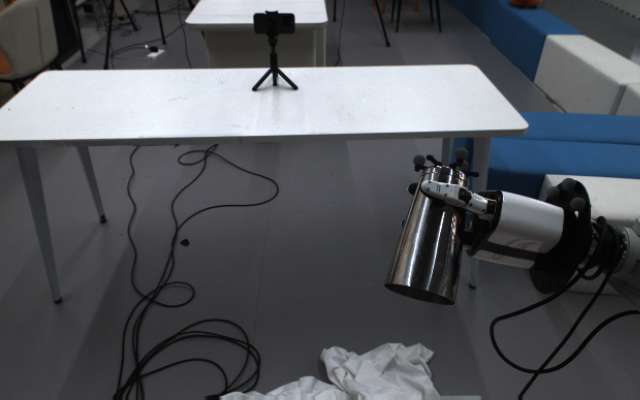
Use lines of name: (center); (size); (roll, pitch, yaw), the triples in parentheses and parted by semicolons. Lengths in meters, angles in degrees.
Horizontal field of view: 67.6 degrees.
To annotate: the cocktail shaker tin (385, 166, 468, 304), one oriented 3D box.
cocktail shaker tin: (0.151, 0.042, 0.649); (0.093, 0.093, 0.170); (13, 72, 15)
